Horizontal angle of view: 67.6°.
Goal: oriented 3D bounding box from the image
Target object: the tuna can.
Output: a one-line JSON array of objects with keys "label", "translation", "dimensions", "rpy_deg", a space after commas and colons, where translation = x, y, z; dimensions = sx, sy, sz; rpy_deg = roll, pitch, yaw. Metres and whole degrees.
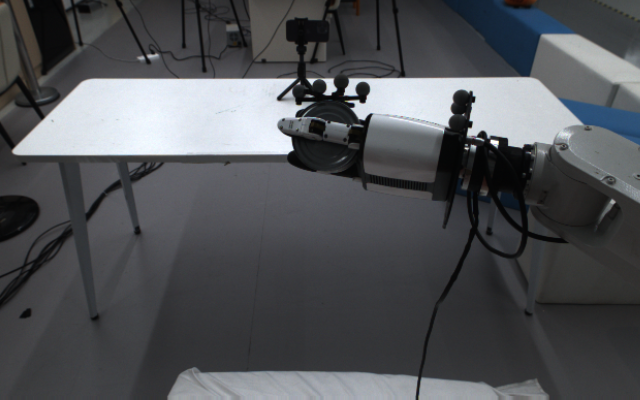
[{"label": "tuna can", "translation": [0.011, -0.078, 0.591], "dimensions": [0.085, 0.085, 0.034], "rpy_deg": [12, 0, 14]}]
